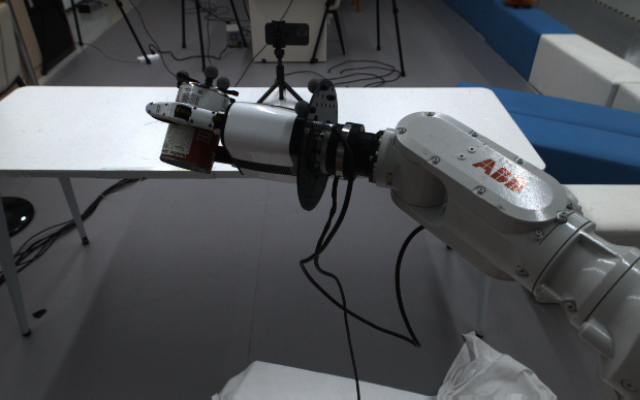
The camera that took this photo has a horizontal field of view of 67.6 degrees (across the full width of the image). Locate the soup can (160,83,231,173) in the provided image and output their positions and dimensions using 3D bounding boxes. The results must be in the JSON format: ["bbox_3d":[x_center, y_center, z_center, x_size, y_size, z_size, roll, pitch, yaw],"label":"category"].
[{"bbox_3d":[-0.160,-0.090,0.623,0.067,0.101,0.067,13,-6,1],"label":"soup can"}]
